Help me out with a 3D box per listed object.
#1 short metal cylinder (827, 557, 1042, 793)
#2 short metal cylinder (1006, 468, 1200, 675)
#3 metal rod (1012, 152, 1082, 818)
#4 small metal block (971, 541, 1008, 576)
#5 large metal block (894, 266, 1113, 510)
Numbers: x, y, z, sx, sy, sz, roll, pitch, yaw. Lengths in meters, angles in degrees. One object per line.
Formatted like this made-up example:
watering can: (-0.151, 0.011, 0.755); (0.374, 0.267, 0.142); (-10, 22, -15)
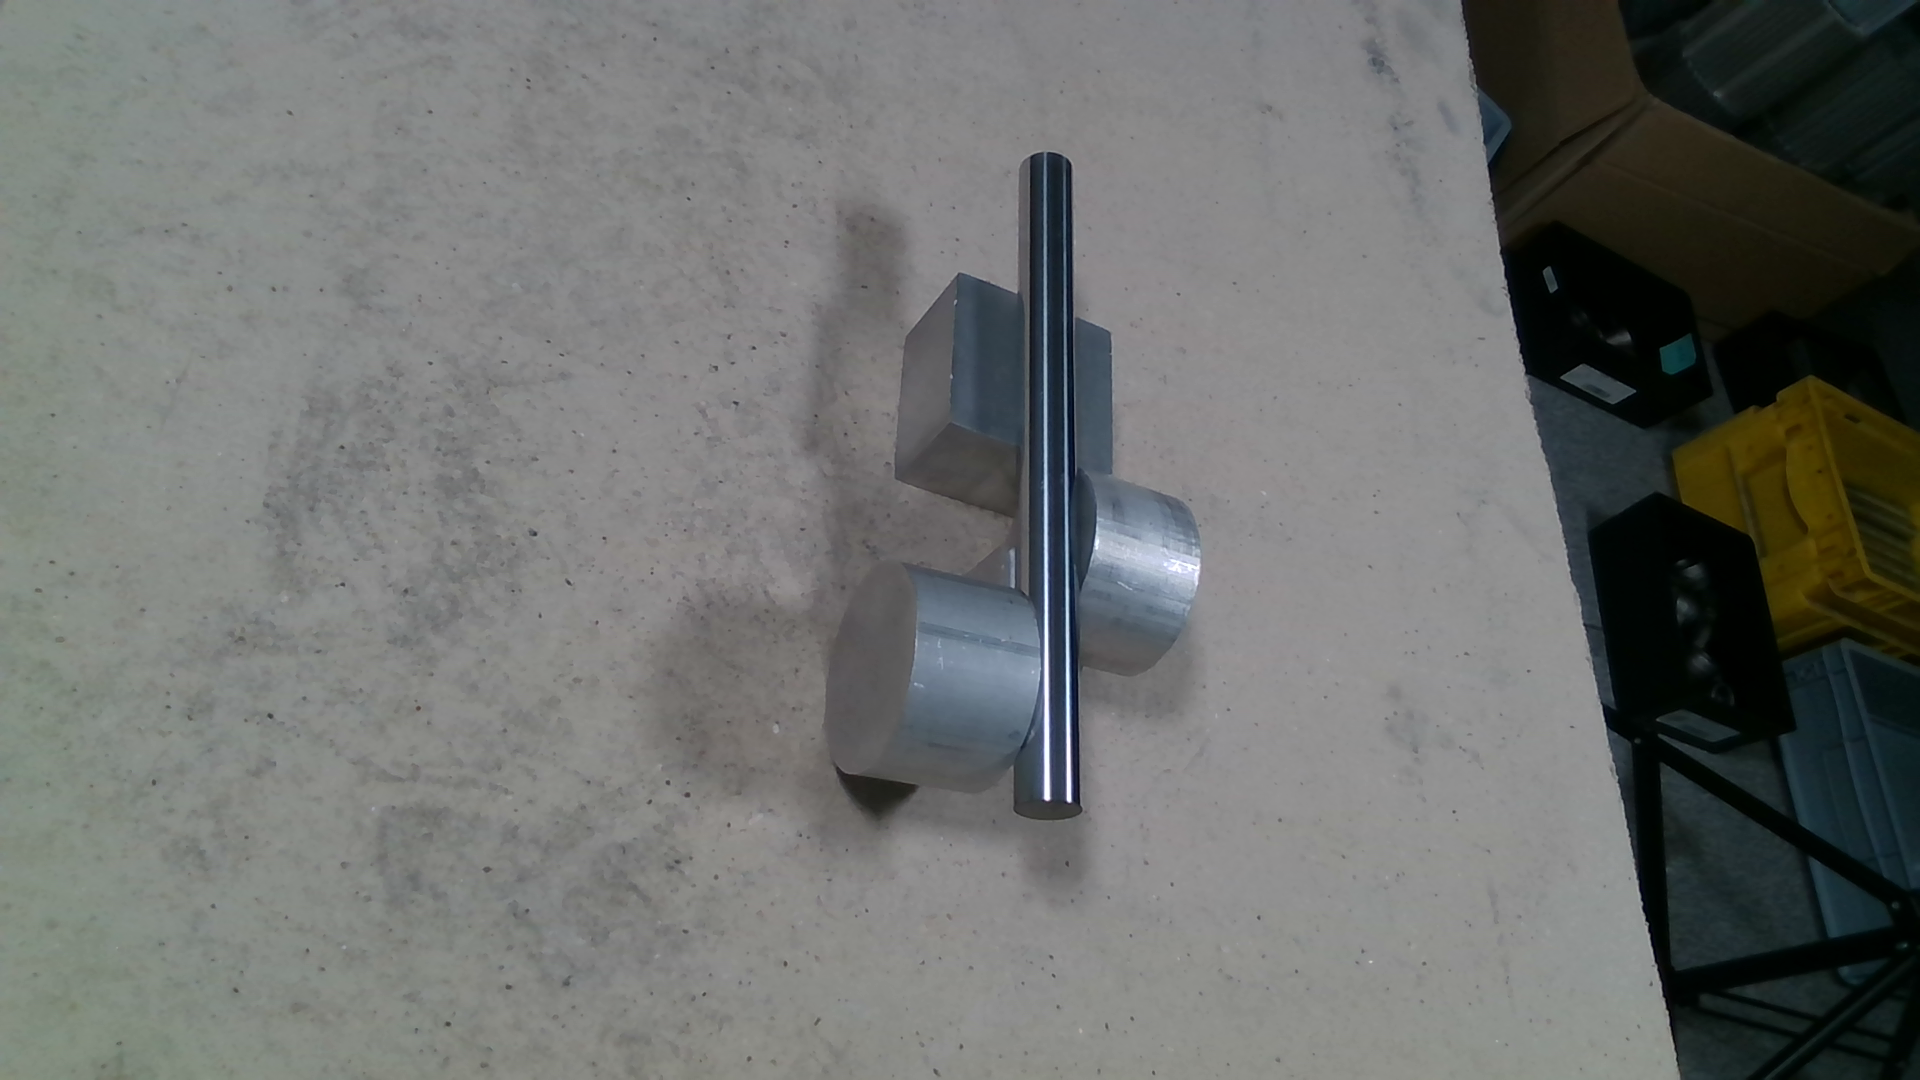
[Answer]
short metal cylinder: (-0.012, 0.051, 0.516); (0.050, 0.080, 0.080); (14, 59, -25)
short metal cylinder: (0.056, 0.013, 0.580); (0.050, 0.080, 0.080); (16, 58, -24)
metal rod: (0.035, -0.037, 0.561); (0.025, 0.025, 0.299); (15, 59, -24)
small metal block: (0.015, 0.036, 0.559); (0.025, 0.050, 0.050); (15, 58, -24)
large metal block: (0.020, -0.063, 0.612); (0.080, 0.050, 0.080); (17, 57, -23)
